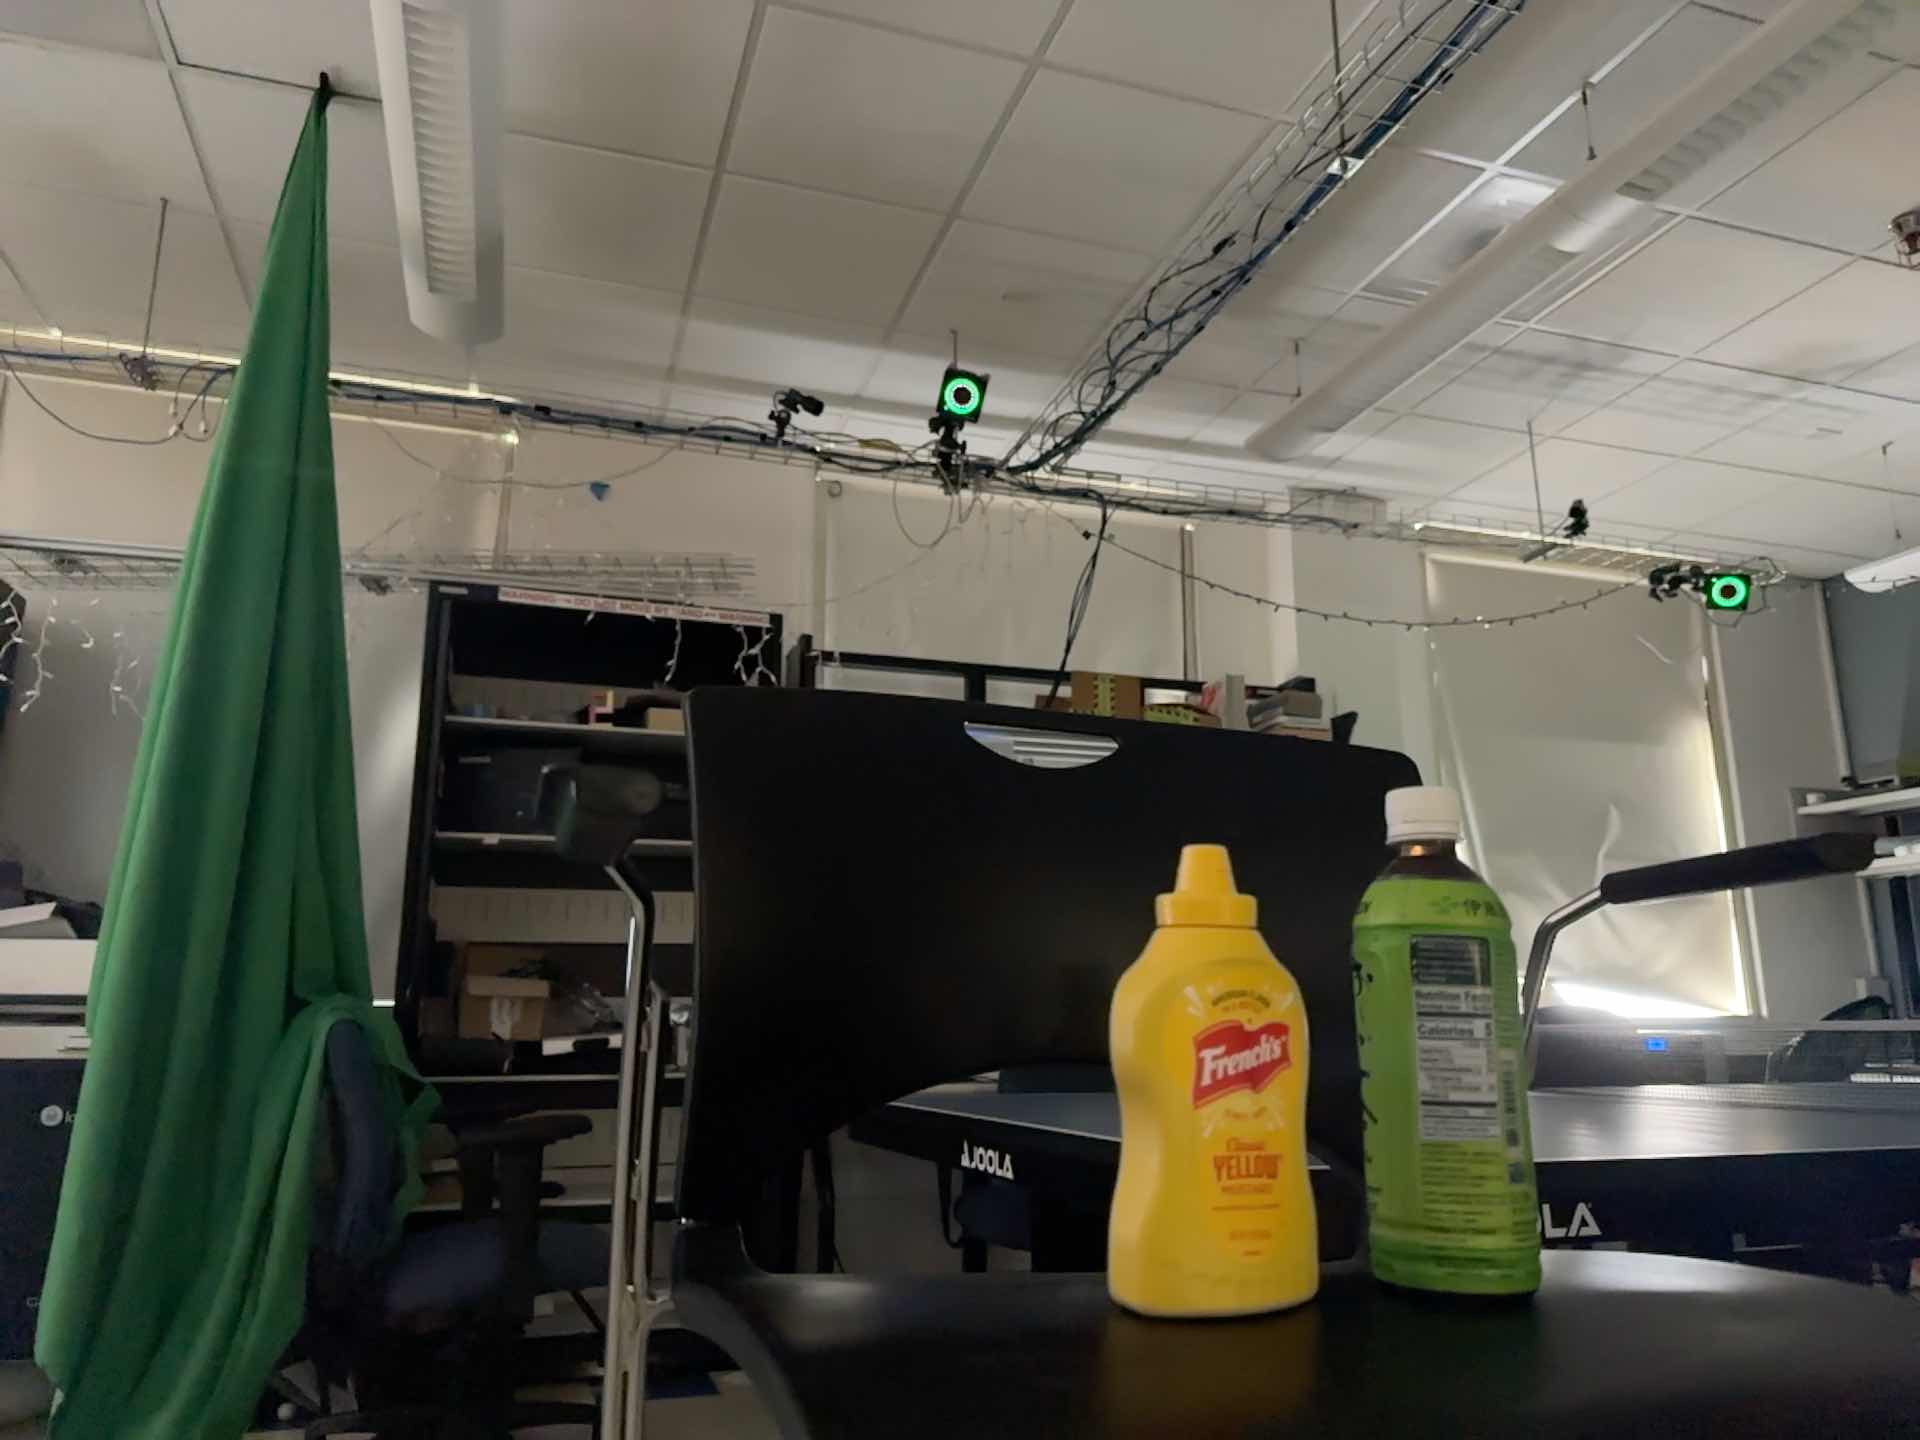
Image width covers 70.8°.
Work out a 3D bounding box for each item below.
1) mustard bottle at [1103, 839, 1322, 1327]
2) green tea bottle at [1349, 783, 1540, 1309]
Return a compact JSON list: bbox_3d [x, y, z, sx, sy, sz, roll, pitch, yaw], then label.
[{"bbox_3d":[0.100,0.140,0.544,0.092,0.184,0.054,5,-11,-22],"label":"mustard bottle"},{"bbox_3d":[0.205,0.133,0.577,0.073,0.212,0.073,2,-10,0],"label":"green tea bottle"}]
